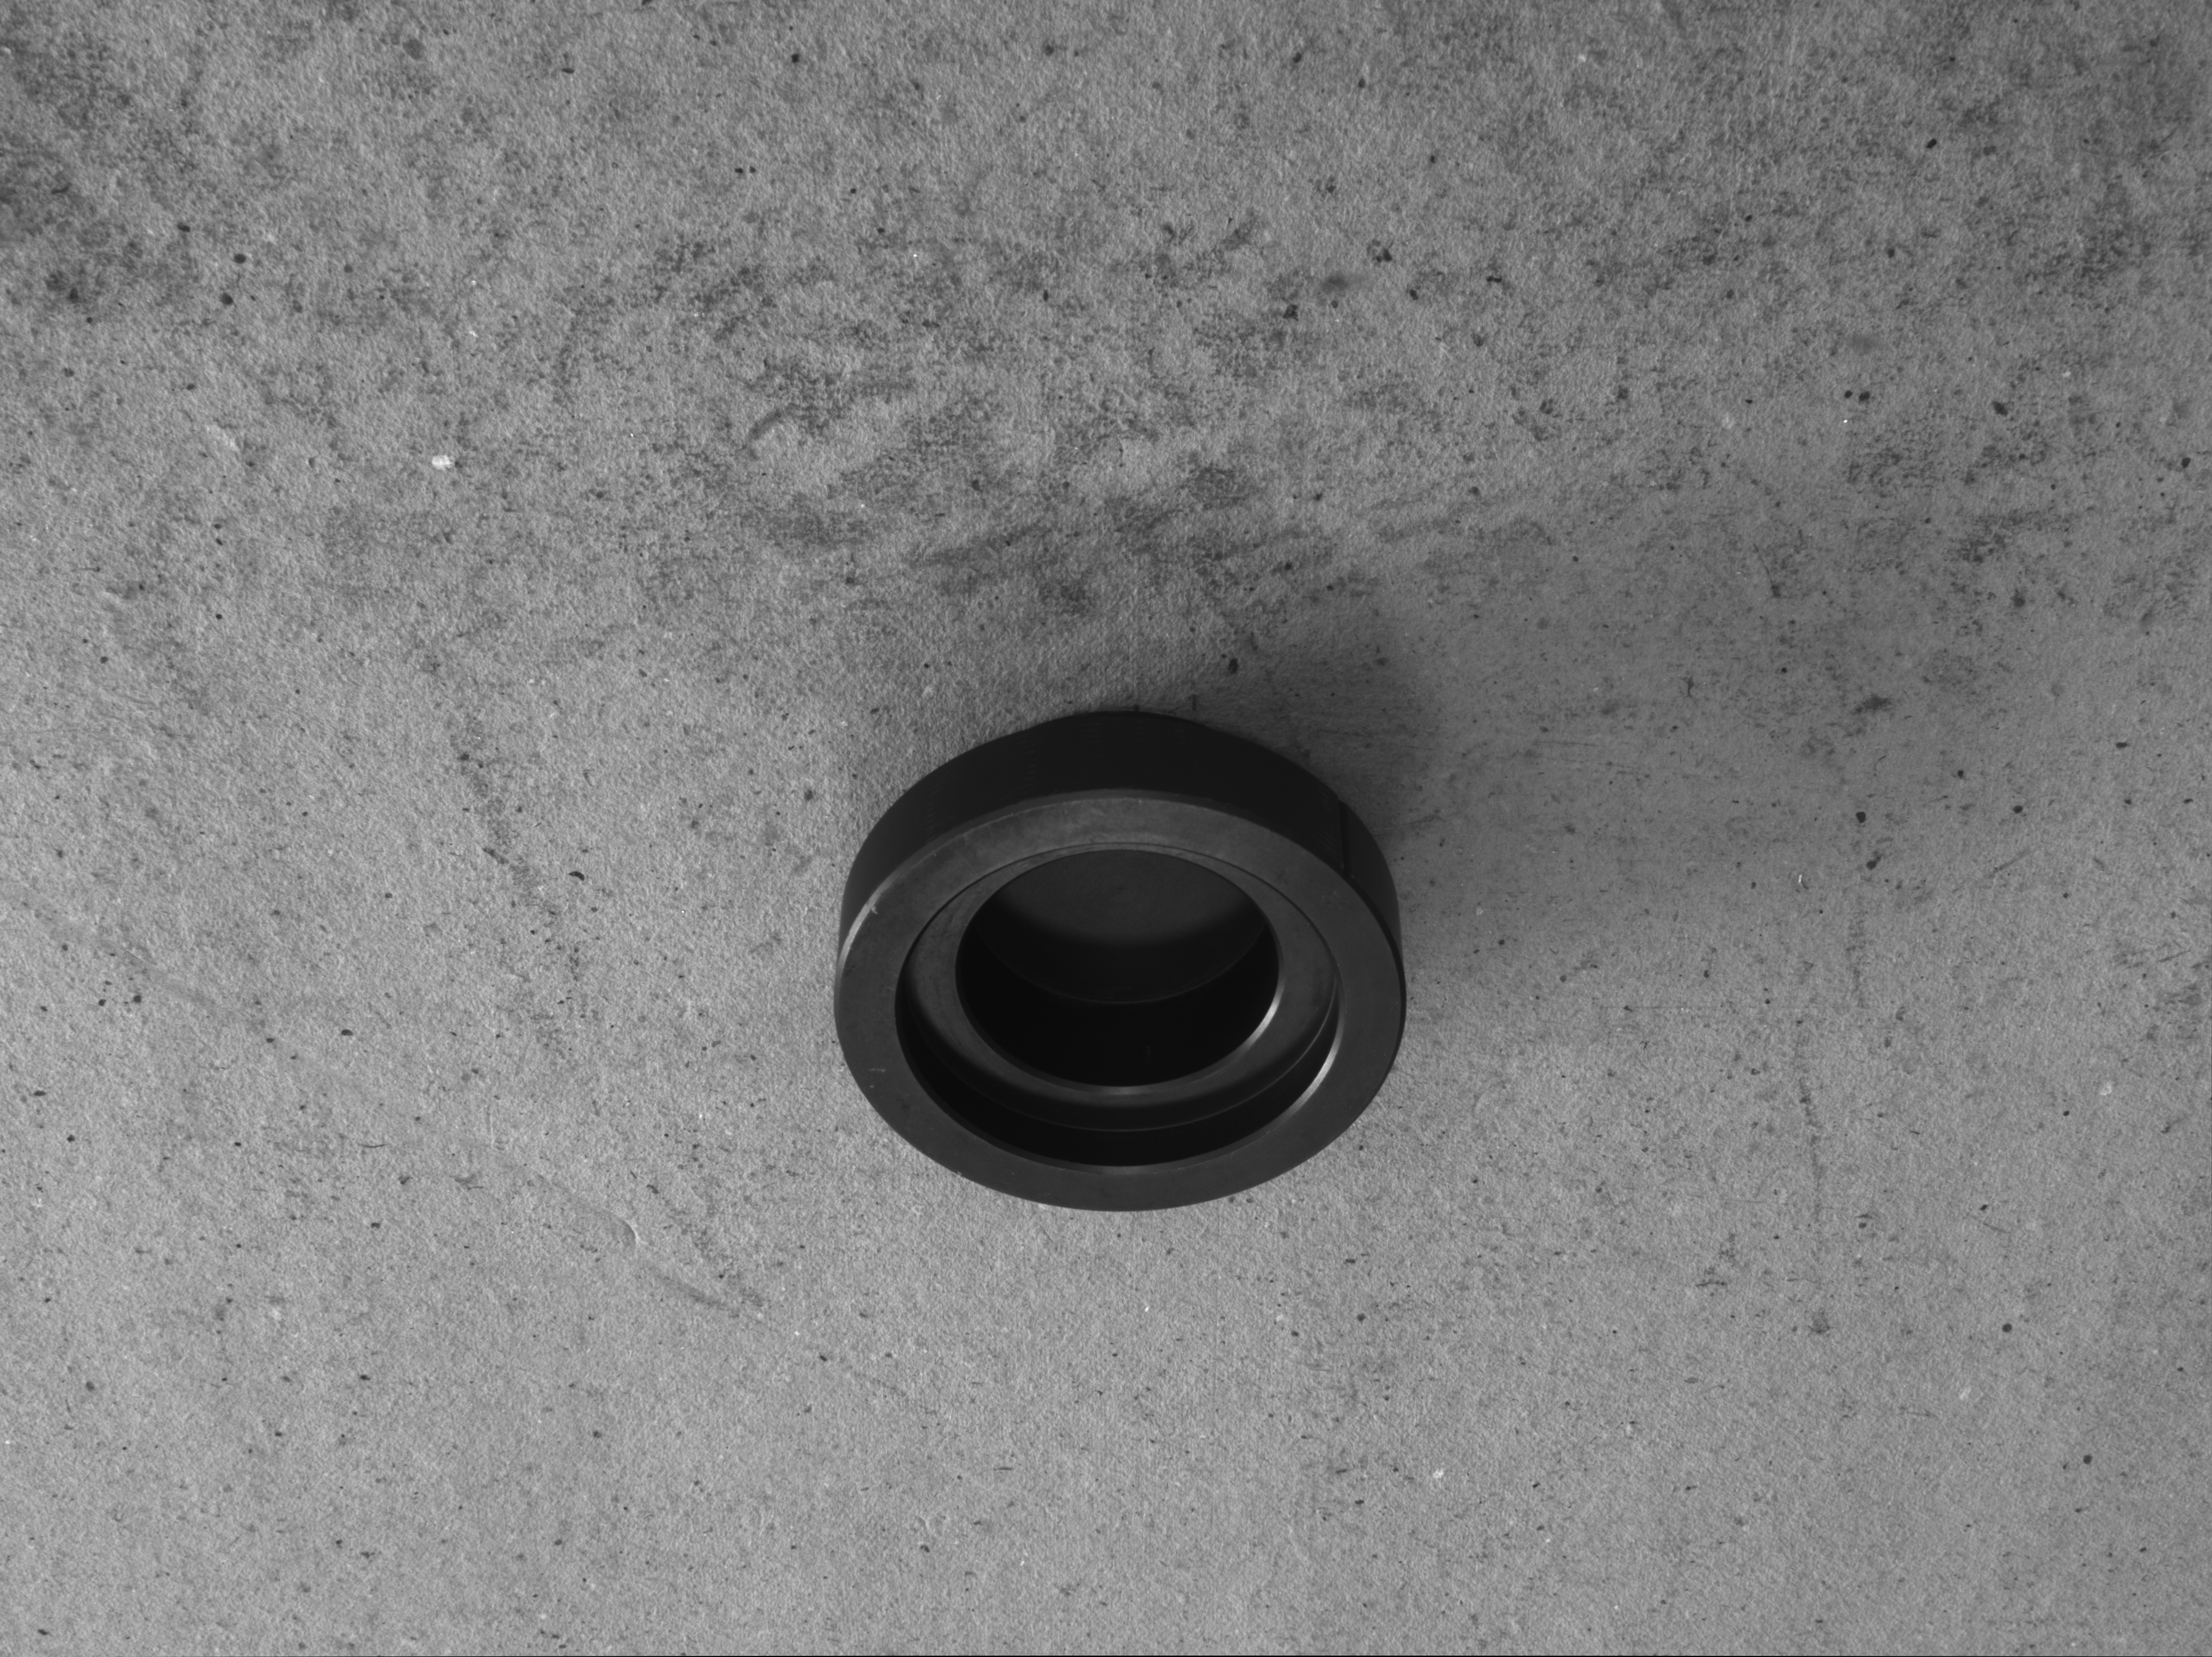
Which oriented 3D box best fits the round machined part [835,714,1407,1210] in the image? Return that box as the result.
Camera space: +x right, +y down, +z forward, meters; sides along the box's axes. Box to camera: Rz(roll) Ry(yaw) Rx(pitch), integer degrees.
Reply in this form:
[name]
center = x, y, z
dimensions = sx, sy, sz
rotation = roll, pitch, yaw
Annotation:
[round machined part]
center = 0.003, 0.018, 0.645
dimensions = 0.098, 0.042, 0.098
rotation = 0, 130, 0
